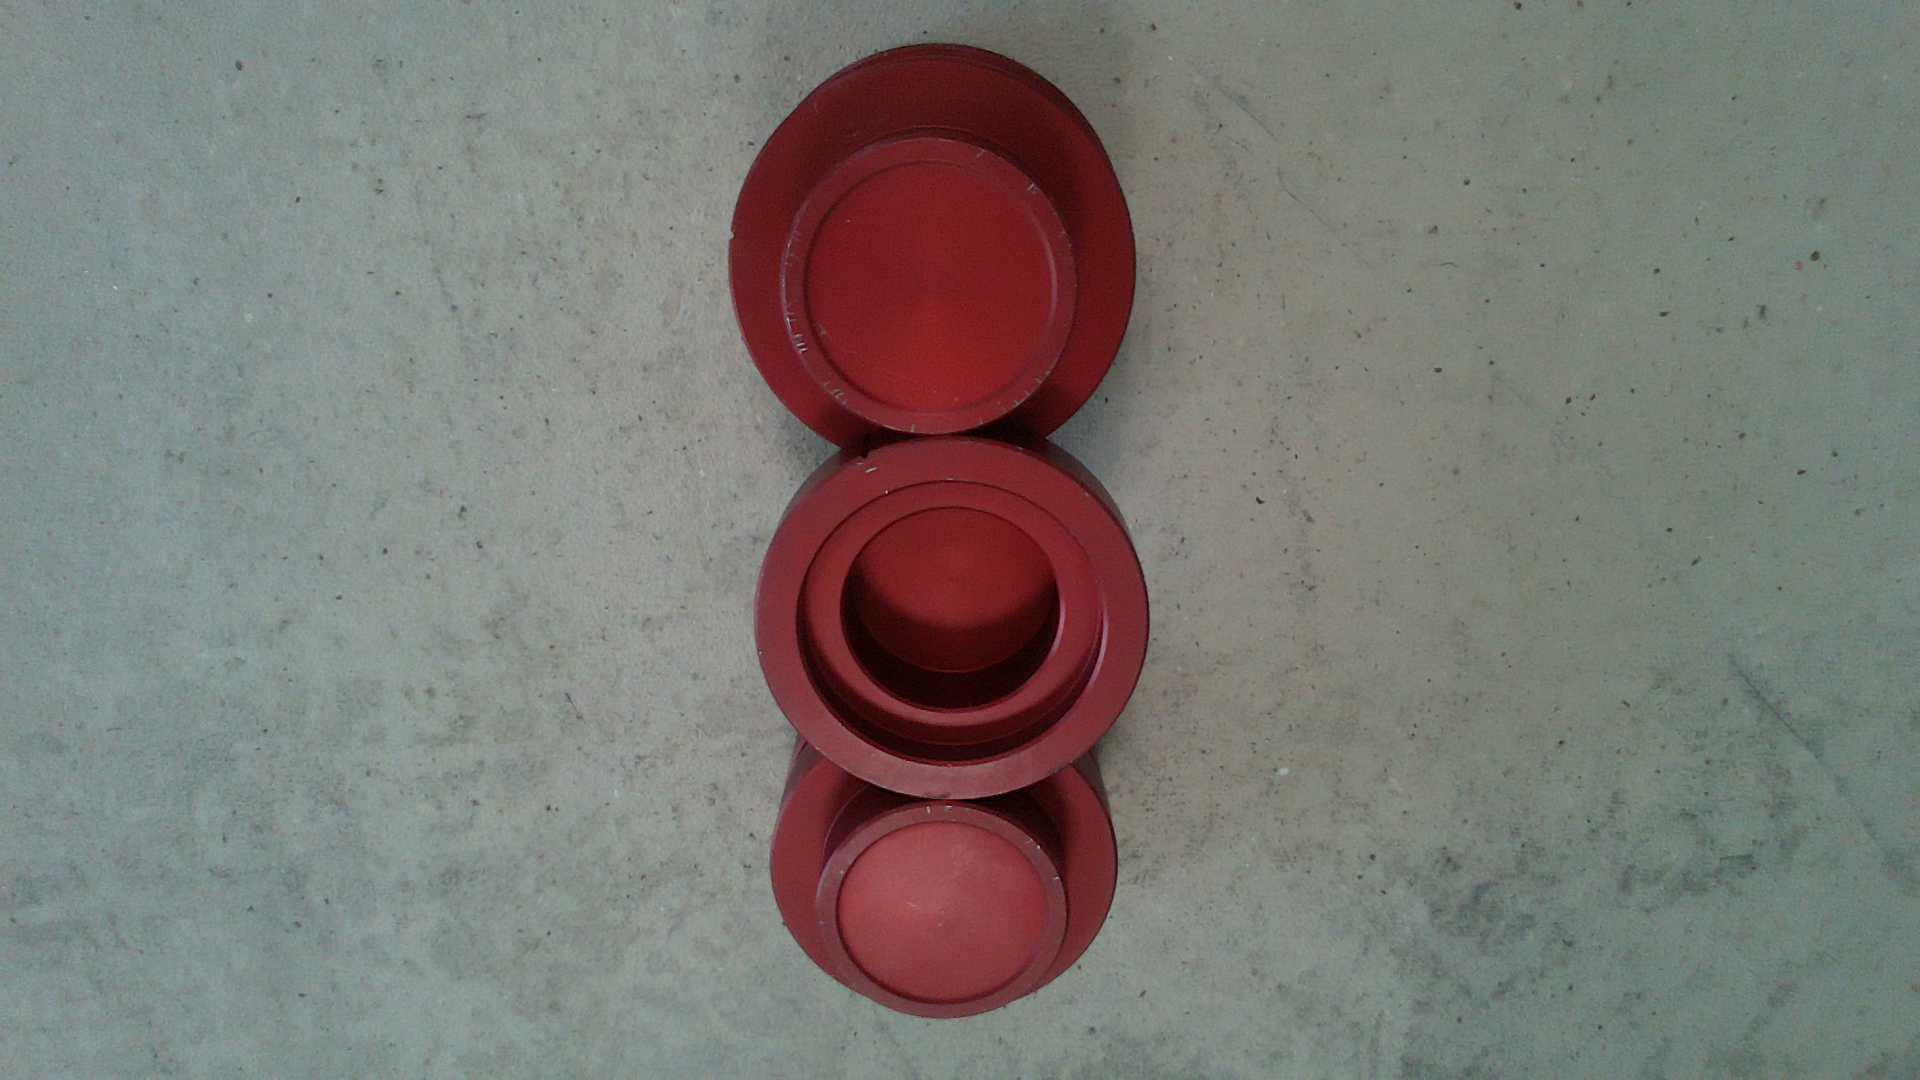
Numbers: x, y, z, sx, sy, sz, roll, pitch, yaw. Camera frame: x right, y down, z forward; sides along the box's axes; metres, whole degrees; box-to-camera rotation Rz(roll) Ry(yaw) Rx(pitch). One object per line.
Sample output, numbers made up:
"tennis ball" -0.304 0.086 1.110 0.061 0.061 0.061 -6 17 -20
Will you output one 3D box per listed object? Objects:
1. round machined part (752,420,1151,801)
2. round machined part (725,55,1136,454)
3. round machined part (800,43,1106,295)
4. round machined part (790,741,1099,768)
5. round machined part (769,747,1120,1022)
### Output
"round machined part" -0.002 0.015 0.356 0.098 0.042 0.098 0 110 0
"round machined part" -0.007 -0.063 0.327 0.098 0.042 0.098 0 111 1
"round machined part" -0.006 -0.077 0.356 0.098 0.042 0.098 0 111 2
"round machined part" -0.005 0.083 0.417 0.098 0.042 0.098 0 109 1
"round machined part" -0.004 0.093 0.384 0.098 0.042 0.098 0 111 1
